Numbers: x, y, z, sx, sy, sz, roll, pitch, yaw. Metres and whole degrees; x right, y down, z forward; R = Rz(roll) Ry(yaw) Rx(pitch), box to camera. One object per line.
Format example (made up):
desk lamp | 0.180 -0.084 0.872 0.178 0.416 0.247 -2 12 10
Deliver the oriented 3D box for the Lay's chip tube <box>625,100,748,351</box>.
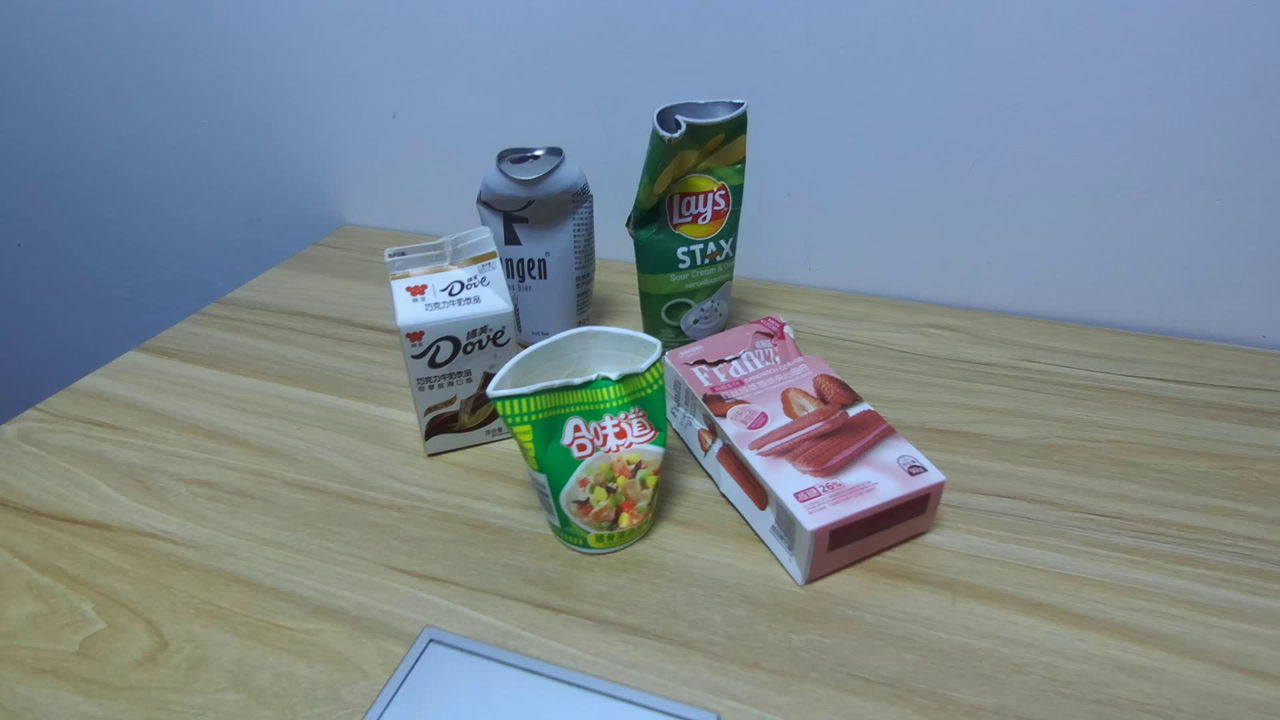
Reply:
Lay's chip tube | 0.036 -0.090 0.538 0.069 0.201 0.077 12 38 20

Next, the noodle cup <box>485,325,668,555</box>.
noodle cup | -0.025 0.049 0.416 0.082 0.122 0.075 -3 26 16

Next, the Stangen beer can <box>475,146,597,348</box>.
Stangen beer can | -0.080 -0.087 0.574 0.077 0.162 0.065 -25 41 -29

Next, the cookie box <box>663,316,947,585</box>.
cookie box | 0.095 0.051 0.463 0.105 0.059 0.185 -17 41 -16

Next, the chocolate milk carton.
chocolate milk carton | -0.126 -0.018 0.487 0.075 0.148 0.074 -11 36 -16
